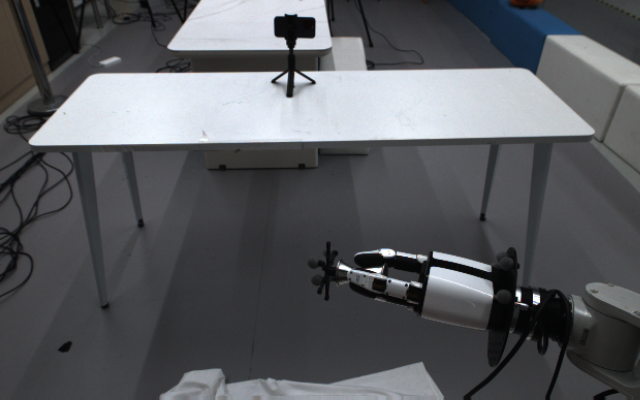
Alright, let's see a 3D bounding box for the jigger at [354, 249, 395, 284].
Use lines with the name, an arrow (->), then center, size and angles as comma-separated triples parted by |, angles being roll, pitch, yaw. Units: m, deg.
jigger -> 0.068, 0.103, 0.697 | 0.071, 0.043, 0.043 | 3, 34, 18
